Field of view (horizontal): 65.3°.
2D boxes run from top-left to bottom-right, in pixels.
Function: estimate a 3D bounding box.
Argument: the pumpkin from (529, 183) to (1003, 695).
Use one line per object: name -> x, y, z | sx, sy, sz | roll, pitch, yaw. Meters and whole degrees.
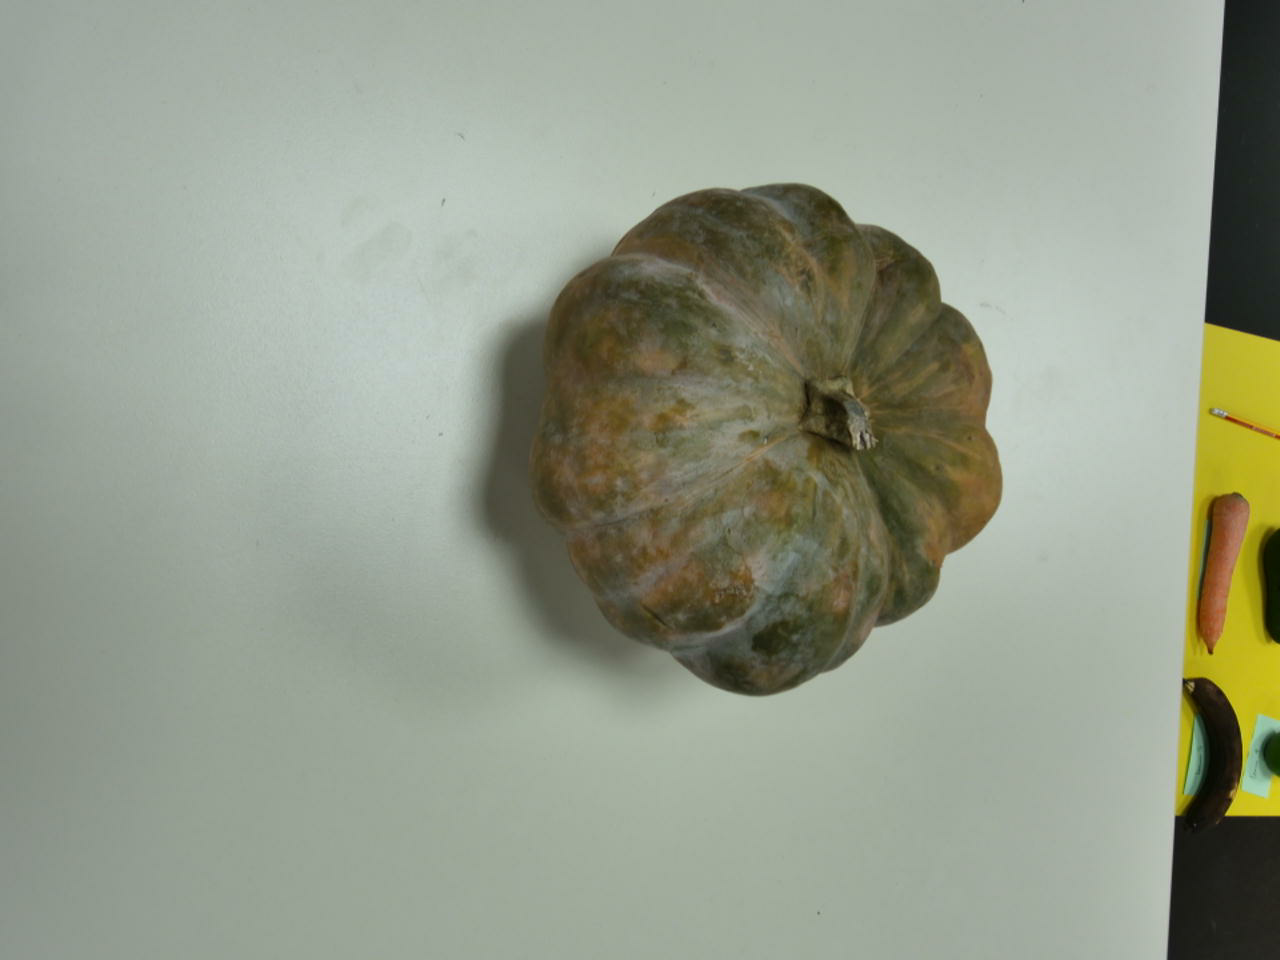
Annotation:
pumpkin -> 0.063, -0.026, 0.507 | 0.252, 0.169, 0.252 | 0, 91, -22
